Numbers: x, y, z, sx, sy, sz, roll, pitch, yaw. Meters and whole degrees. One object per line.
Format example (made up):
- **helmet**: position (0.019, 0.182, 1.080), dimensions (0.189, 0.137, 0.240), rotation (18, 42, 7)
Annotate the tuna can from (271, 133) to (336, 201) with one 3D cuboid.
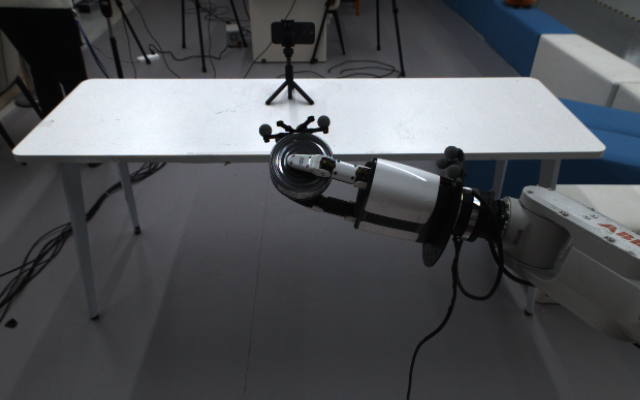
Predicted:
- **tuna can**: position (-0.020, -0.040, 0.635), dimensions (0.085, 0.034, 0.085), rotation (0, 72, -1)
